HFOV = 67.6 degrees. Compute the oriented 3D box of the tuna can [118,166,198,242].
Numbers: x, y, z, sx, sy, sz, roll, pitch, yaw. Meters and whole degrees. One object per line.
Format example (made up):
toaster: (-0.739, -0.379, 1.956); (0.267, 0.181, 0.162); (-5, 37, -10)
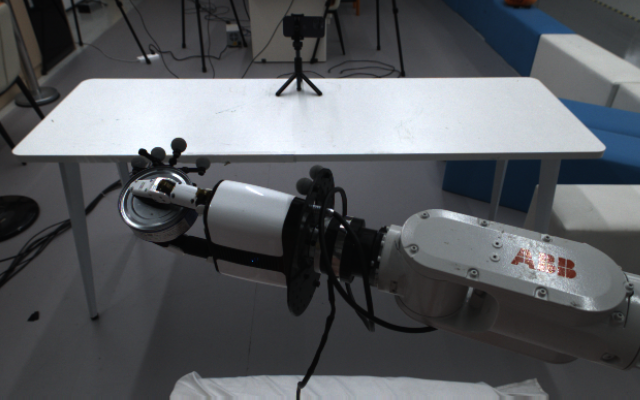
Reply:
tuna can: (-0.180, 0.006, 0.557); (0.085, 0.034, 0.085); (-2, 57, 2)
